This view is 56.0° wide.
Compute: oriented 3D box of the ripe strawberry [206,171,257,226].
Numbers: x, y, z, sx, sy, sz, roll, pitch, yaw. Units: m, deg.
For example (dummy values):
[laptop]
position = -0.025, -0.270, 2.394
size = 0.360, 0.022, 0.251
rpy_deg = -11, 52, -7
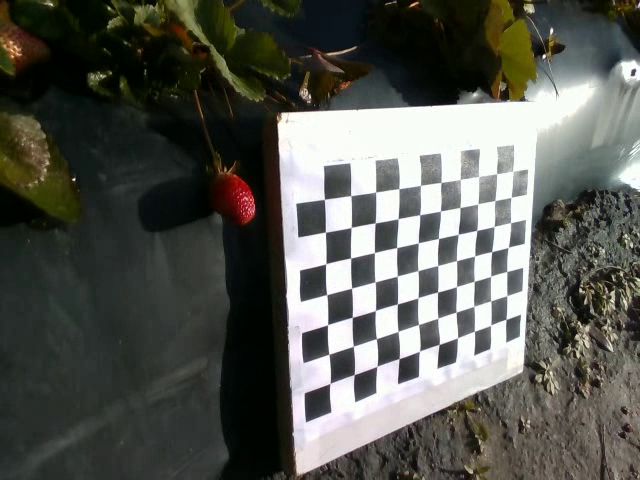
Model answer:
[ripe strawberry]
position = -0.049, -0.020, 0.340
size = 0.034, 0.038, 0.033
rpy_deg = -12, -35, -34
